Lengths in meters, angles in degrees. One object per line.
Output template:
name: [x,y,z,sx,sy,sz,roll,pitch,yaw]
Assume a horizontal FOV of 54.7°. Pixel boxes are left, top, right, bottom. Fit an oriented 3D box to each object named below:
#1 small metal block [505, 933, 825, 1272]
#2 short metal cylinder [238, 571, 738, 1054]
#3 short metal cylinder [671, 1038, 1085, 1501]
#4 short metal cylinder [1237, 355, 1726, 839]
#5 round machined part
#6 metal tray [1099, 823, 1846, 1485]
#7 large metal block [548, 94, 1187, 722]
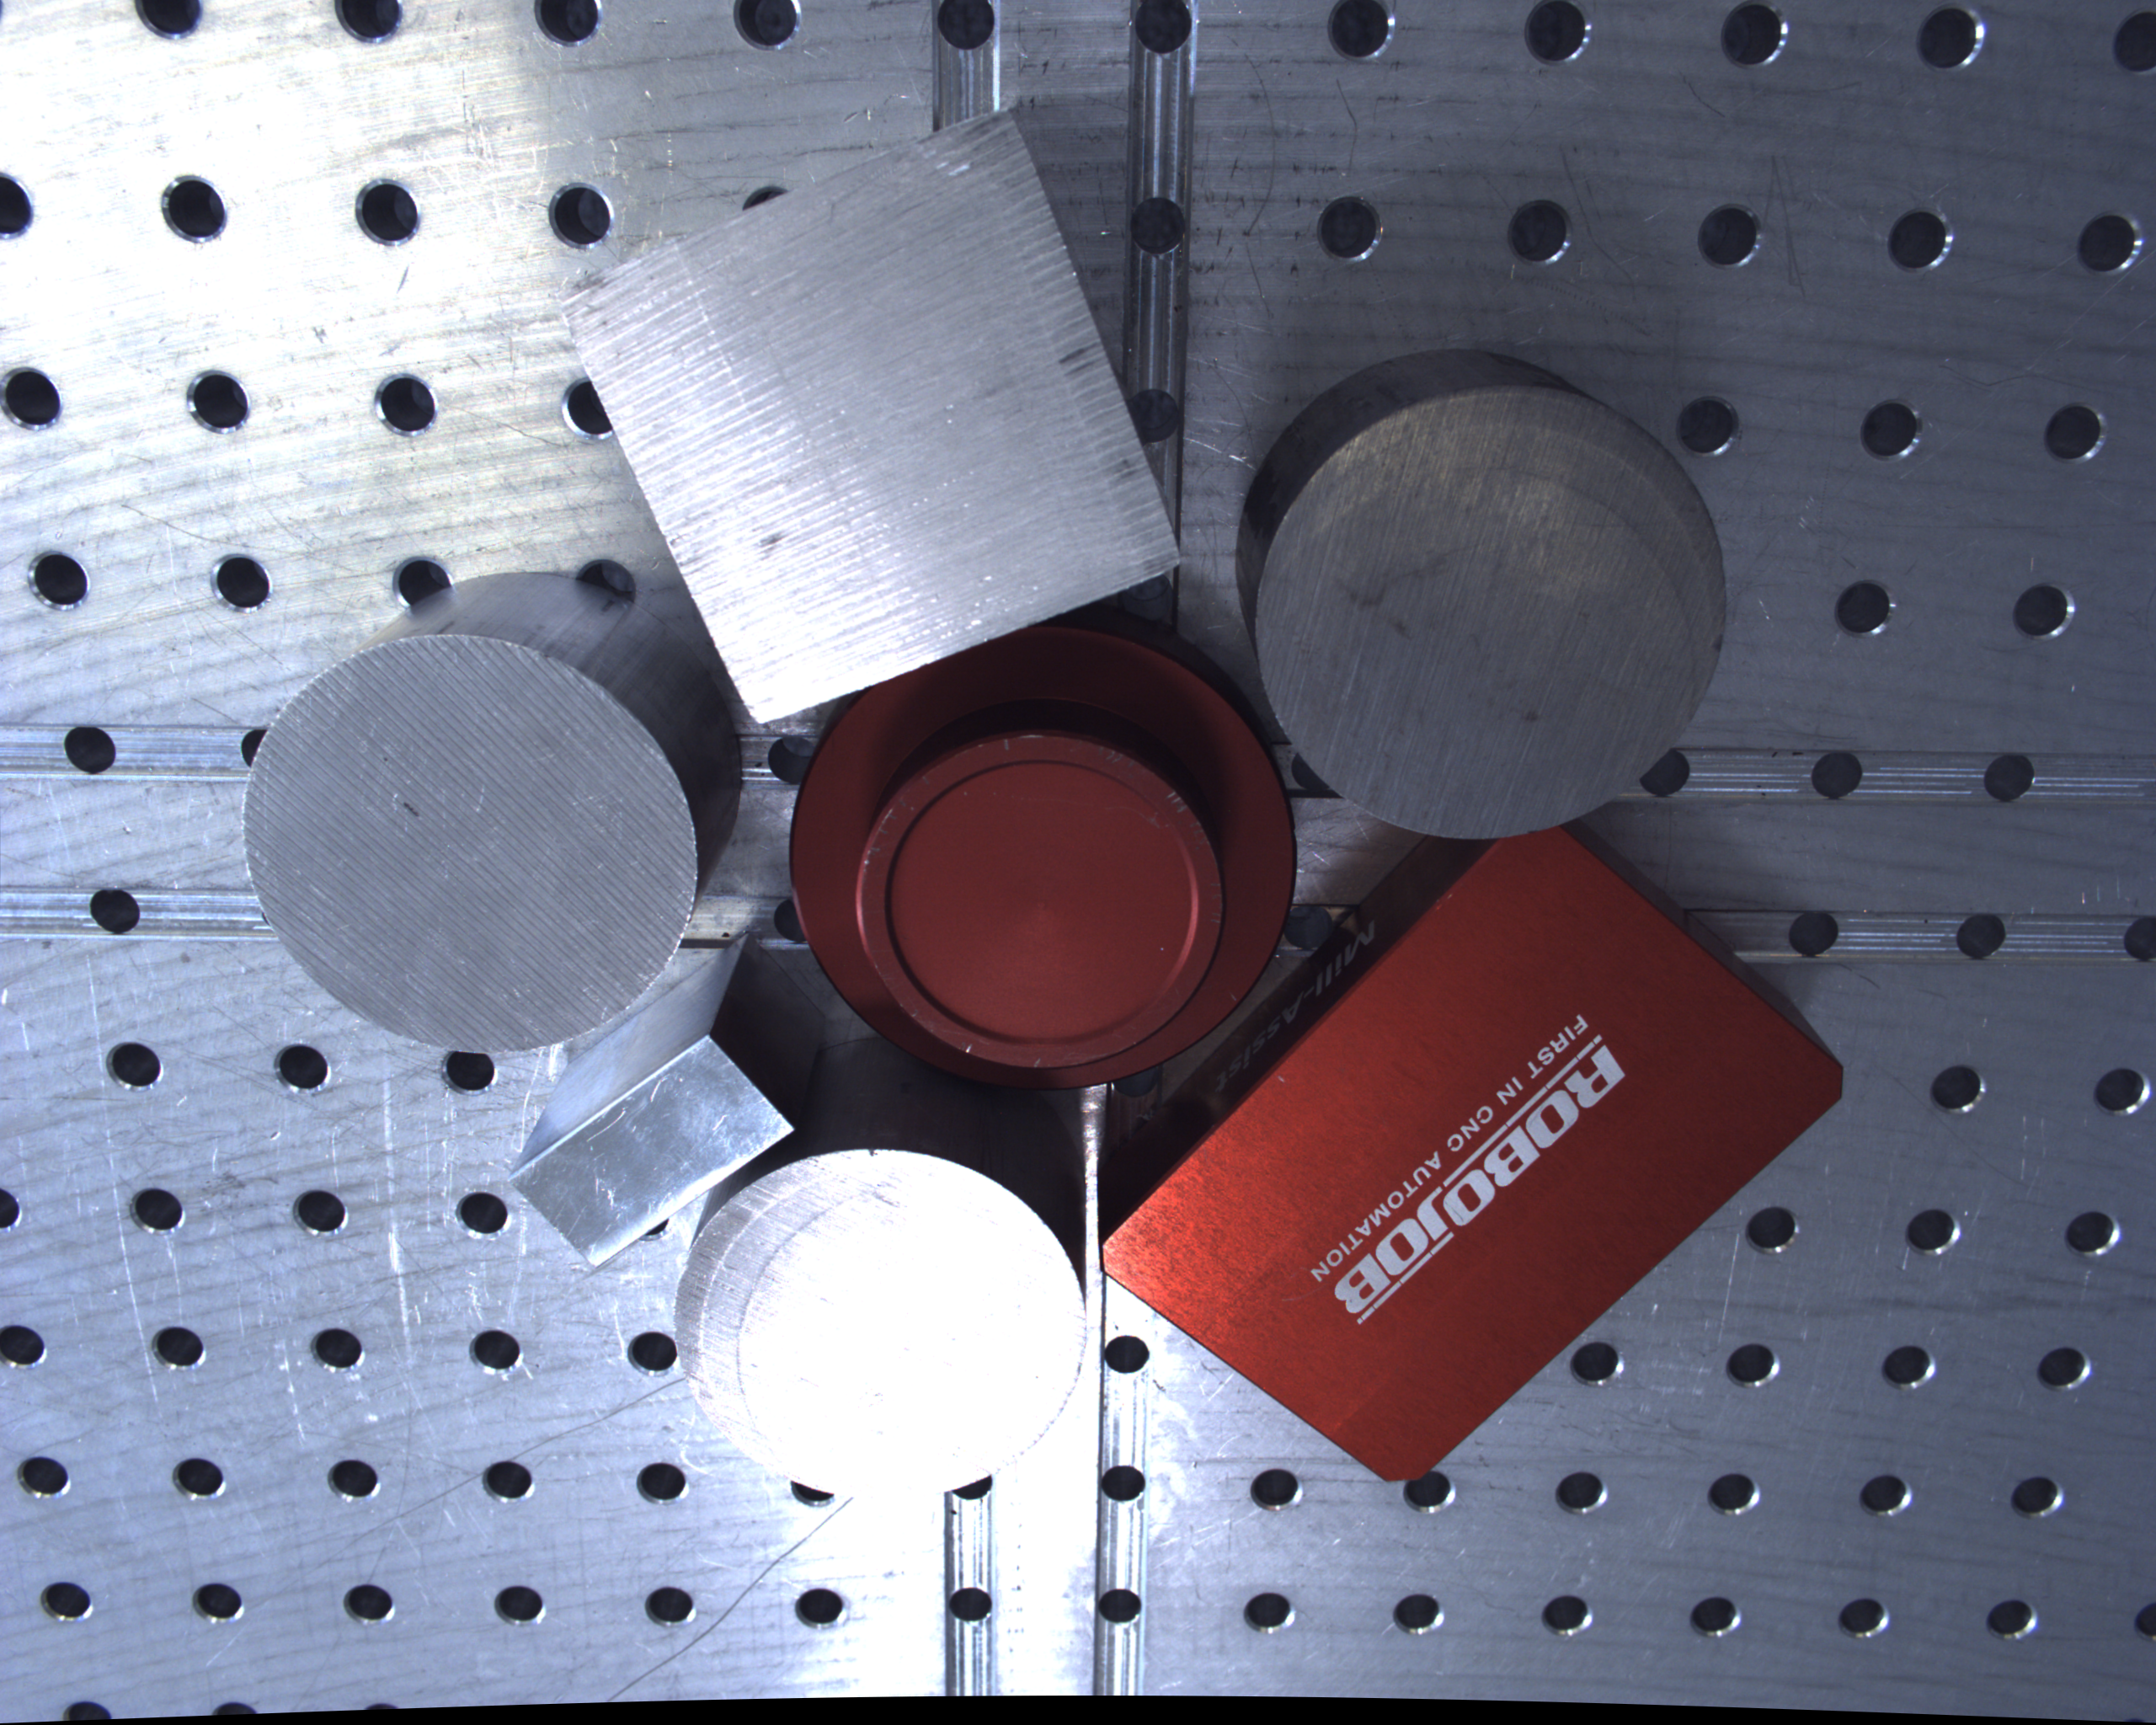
small metal block: [-0.080,0.047,0.415,0.050,0.050,0.025,-35,106,12]
short metal cylinder: [-0.108,-0.011,0.394,0.081,0.050,0.079,0,110,0]
short metal cylinder: [-0.039,0.083,0.429,0.081,0.050,0.079,0,110,0]
short metal cylinder: [0.071,-0.050,0.381,0.081,0.050,0.079,0,110,0]
round machined part: [-0.007,0.001,0.404,0.099,0.042,0.097,0,110,0]
metal tray: [0.078,0.057,0.431,0.090,0.030,0.130,39,105,-13]
large metal block: [-0.034,-0.081,0.370,0.080,0.050,0.080,-20,109,7]
